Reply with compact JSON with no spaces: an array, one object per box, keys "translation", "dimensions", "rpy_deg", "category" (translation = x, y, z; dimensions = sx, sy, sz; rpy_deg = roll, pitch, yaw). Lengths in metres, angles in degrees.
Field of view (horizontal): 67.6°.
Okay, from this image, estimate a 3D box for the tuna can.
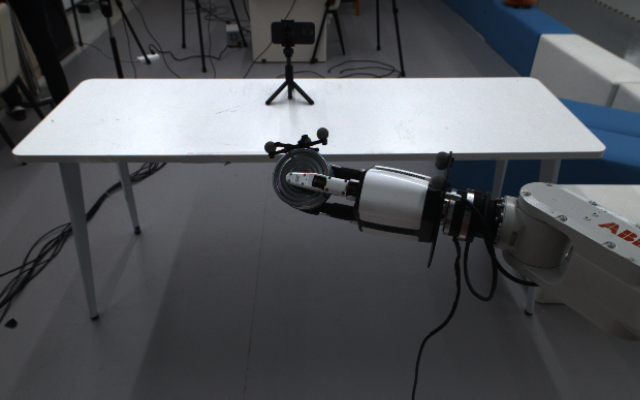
[{"translation":[-0.020,-0.025,0.685],"dimensions":[0.085,0.085,0.034],"rpy_deg":[12,-6,14],"category":"tuna can"}]
